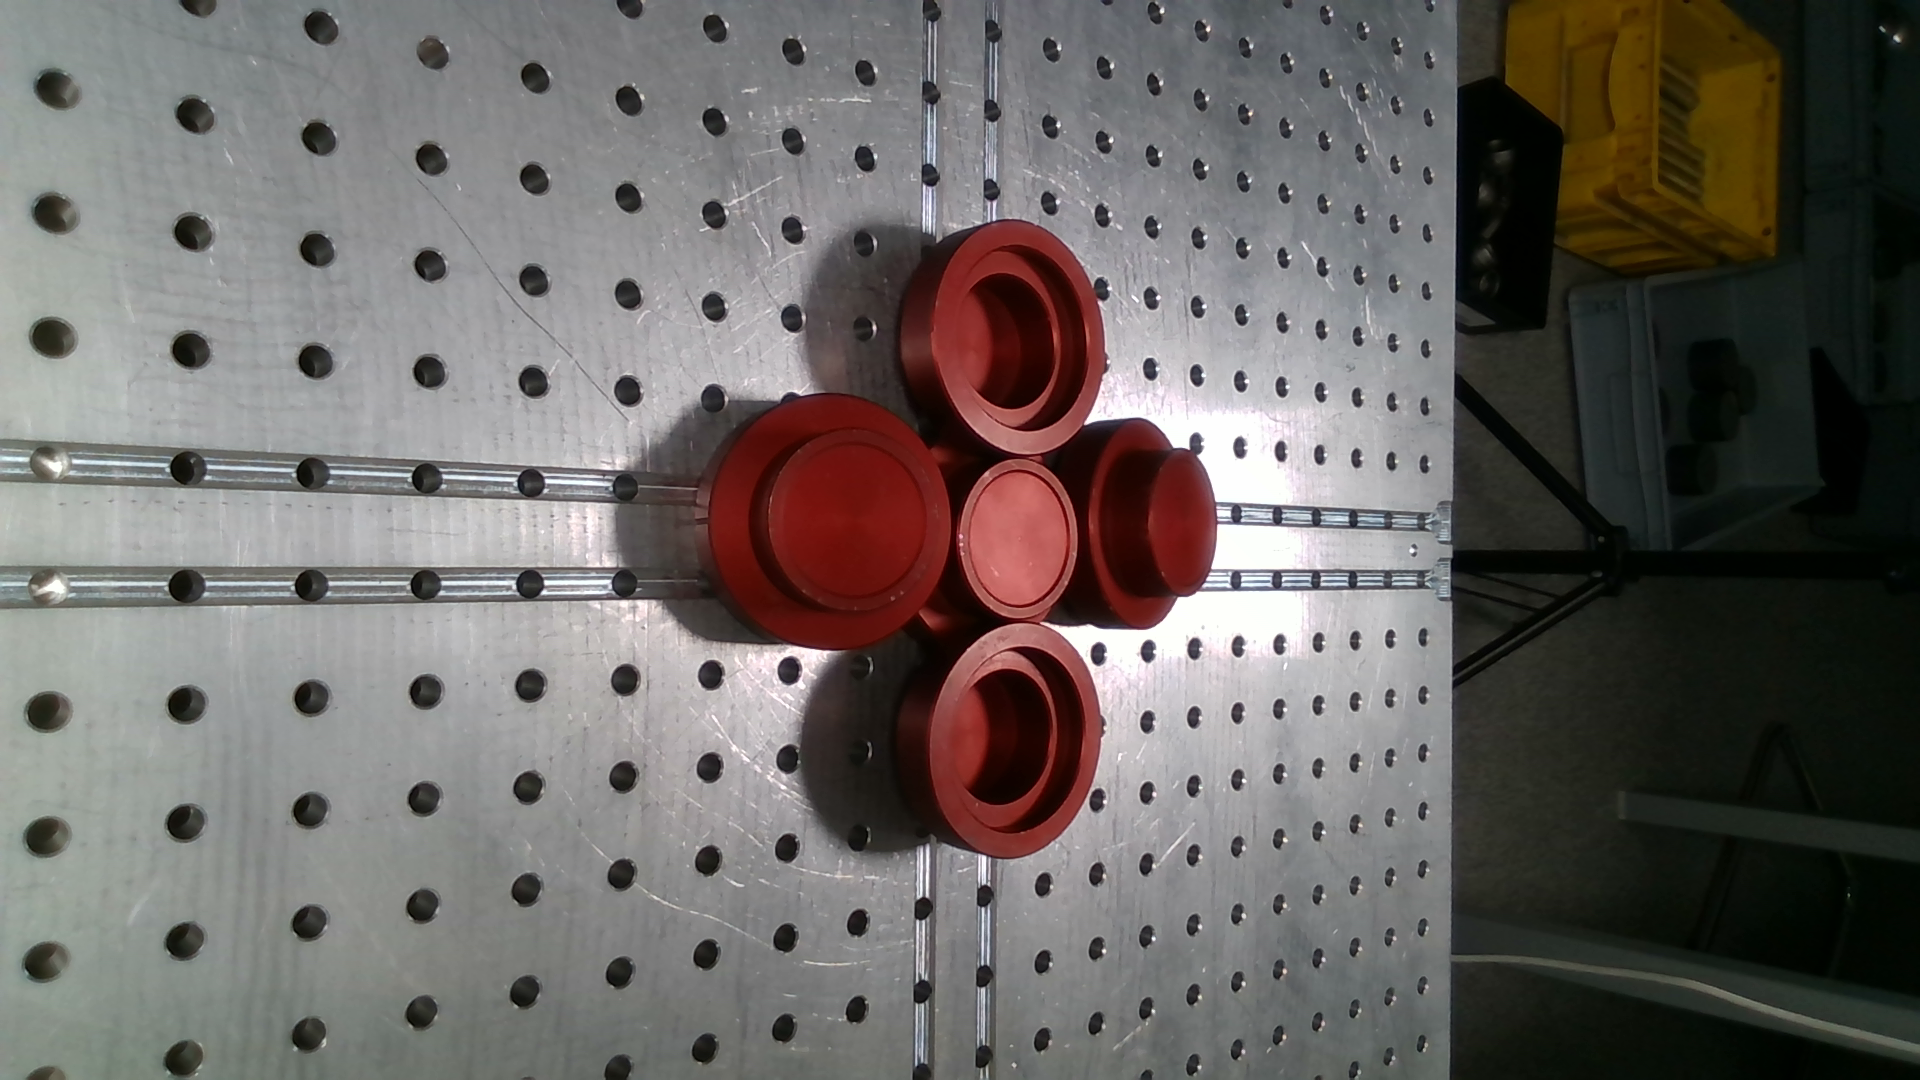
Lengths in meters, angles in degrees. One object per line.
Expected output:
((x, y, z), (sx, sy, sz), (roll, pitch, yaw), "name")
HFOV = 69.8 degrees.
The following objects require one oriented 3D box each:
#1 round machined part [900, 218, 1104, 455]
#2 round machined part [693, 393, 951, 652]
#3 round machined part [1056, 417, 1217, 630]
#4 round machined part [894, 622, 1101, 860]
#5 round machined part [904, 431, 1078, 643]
((0.013, -0.084, 0.585), (0.098, 0.042, 0.098), (0, 90, -40), "round machined part")
((-0.047, -0.007, 0.520), (0.098, 0.042, 0.098), (0, 90, -26), "round machined part")
((0.084, -0.008, 0.631), (0.098, 0.042, 0.098), (4, 85, -54), "round machined part")
((0.011, 0.083, 0.584), (0.098, 0.042, 0.098), (0, 90, -40), "round machined part")
((0.012, -0.001, 0.584), (0.098, 0.042, 0.098), (0, 90, -40), "round machined part")
